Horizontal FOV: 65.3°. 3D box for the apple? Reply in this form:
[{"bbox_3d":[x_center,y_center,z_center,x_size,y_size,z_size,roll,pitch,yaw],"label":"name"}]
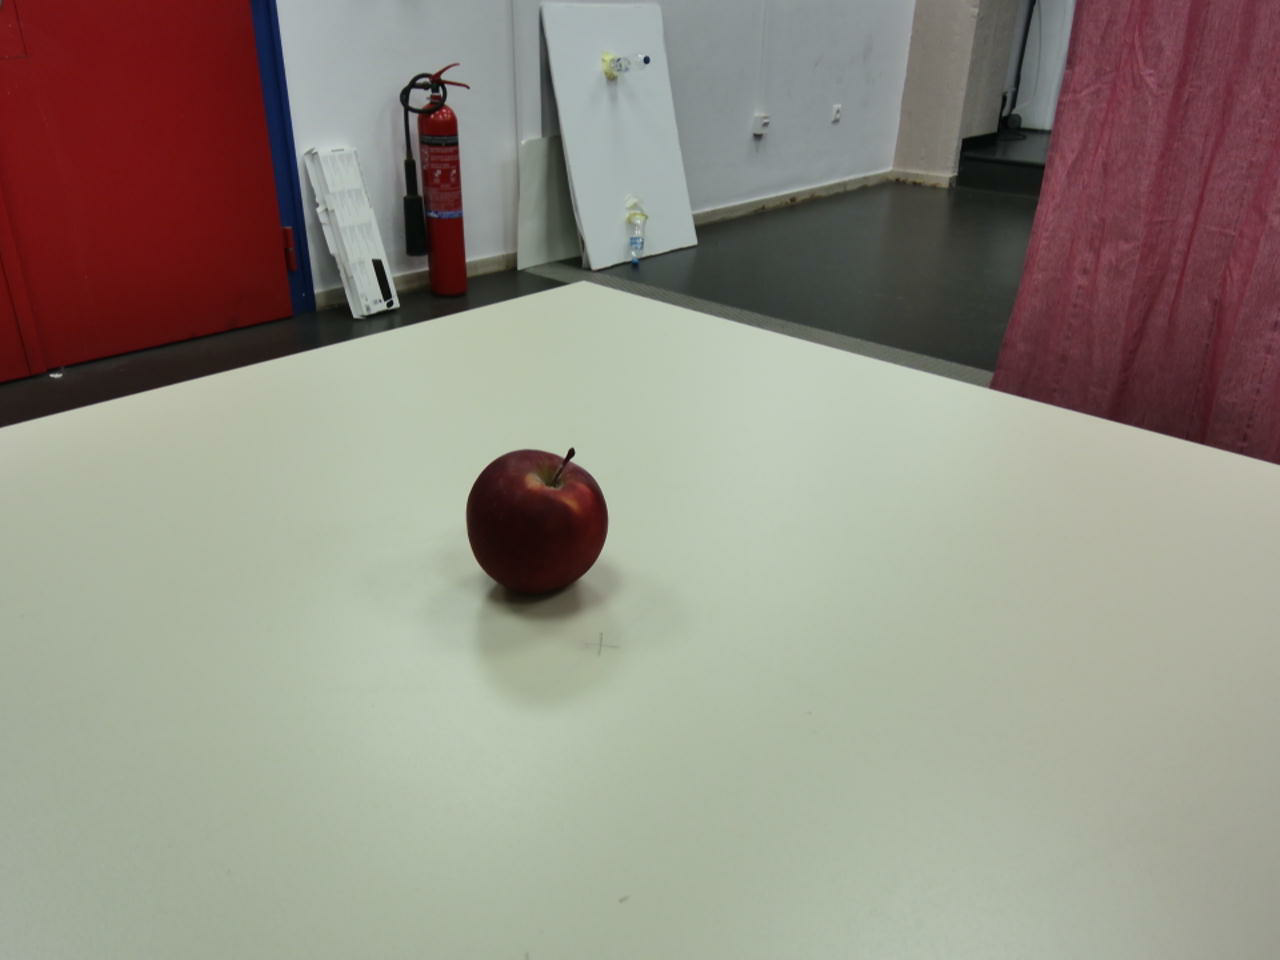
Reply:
[{"bbox_3d":[-0.051,0.020,0.494,0.070,0.072,0.070,1,25,0],"label":"apple"}]
